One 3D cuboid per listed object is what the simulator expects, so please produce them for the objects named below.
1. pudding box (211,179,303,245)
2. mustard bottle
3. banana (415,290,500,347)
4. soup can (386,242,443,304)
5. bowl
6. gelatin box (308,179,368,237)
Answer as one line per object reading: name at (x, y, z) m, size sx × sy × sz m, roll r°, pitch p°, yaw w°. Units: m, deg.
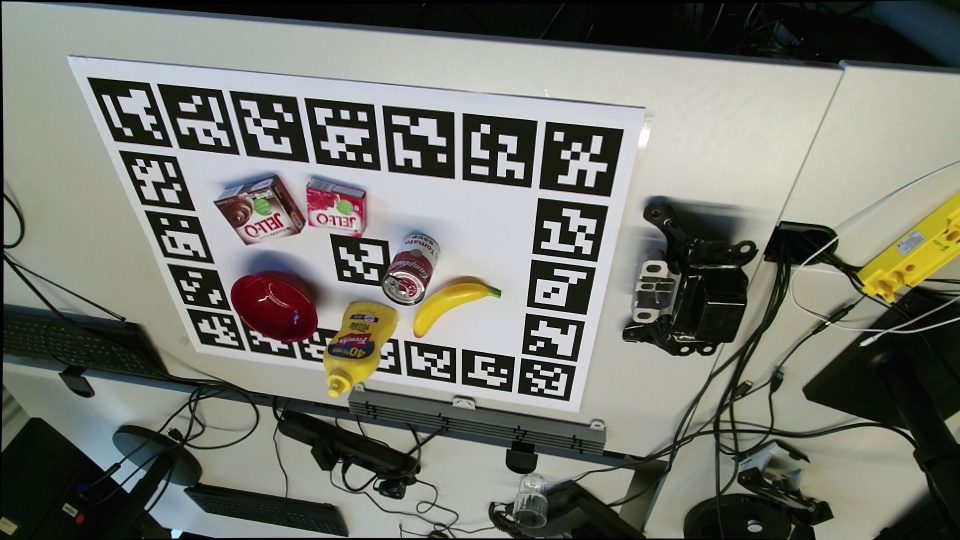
pudding box at (-0.359, -0.089, 0.868) m, size 0.114 × 0.038 × 0.090 m, roll -13°, pitch 118°, yaw 21°
mustard bottle at (-0.220, 0.147, 0.908) m, size 0.096 × 0.191 × 0.058 m, roll 8°, pitch 130°, yaw 7°
banana at (-0.058, 0.082, 0.934) m, size 0.074 × 0.038 × 0.197 m, roll 36°, pitch 127°, yaw -27°
soup can at (-0.102, 0.012, 0.838) m, size 0.068 × 0.101 × 0.068 m, roll 7°, pitch 129°, yaw 9°
bowl at (-0.373, 0.063, 0.981) m, size 0.162 × 0.055 × 0.162 m, roll 5°, pitch 128°, yaw 7°
gelatin box at (-0.223, -0.096, 0.839) m, size 0.090 × 0.030 × 0.073 m, roll 13°, pitch 125°, yaw 2°
